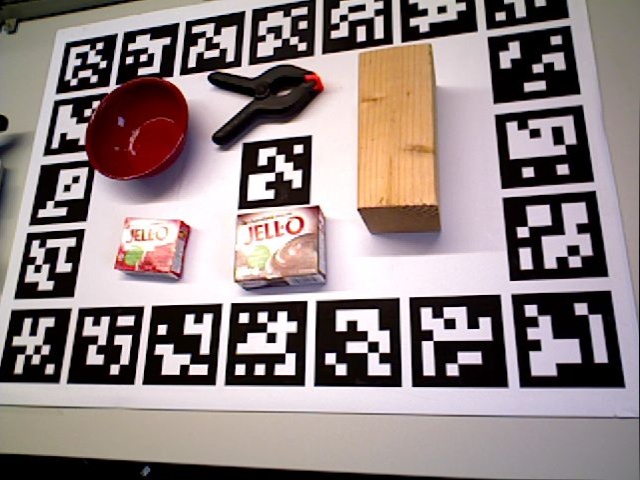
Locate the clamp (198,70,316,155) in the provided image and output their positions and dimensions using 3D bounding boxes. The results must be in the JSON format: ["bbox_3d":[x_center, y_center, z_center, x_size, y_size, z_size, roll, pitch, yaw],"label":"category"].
[{"bbox_3d":[-0.087,-0.190,0.753,0.165,0.037,0.121,-13,69,9],"label":"clamp"}]

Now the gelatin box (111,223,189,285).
[{"bbox_3d":[-0.225,0.018,0.717,0.090,0.030,0.073,4,75,16],"label":"gelatin box"}]

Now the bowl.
[{"bbox_3d":[-0.247,-0.144,0.770,0.162,0.055,0.161,-4,74,13],"label":"bowl"}]

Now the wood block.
[{"bbox_3d":[0.106,-0.112,0.637,0.090,0.091,0.205,-1,72,13],"label":"wood block"}]

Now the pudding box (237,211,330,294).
[{"bbox_3d":[-0.044,0.017,0.666,0.114,0.038,0.089,-5,75,16],"label":"pudding box"}]
